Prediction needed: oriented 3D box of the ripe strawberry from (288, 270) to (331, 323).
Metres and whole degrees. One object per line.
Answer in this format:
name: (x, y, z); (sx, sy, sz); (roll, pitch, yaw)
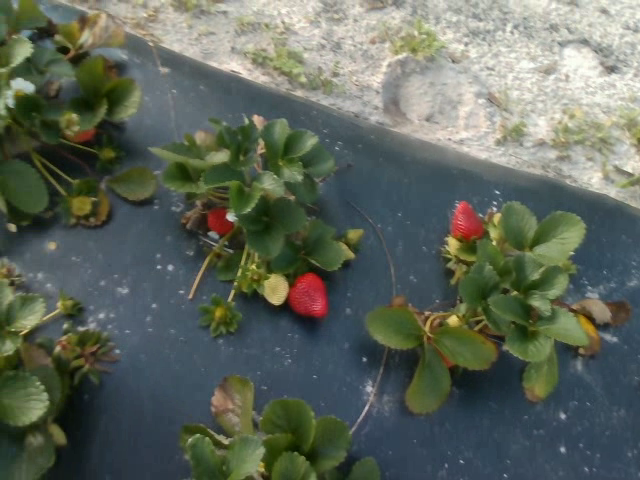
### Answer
ripe strawberry: (-0.010, 0.068, 0.731); (0.048, 0.051, 0.055); (34, 14, -40)
